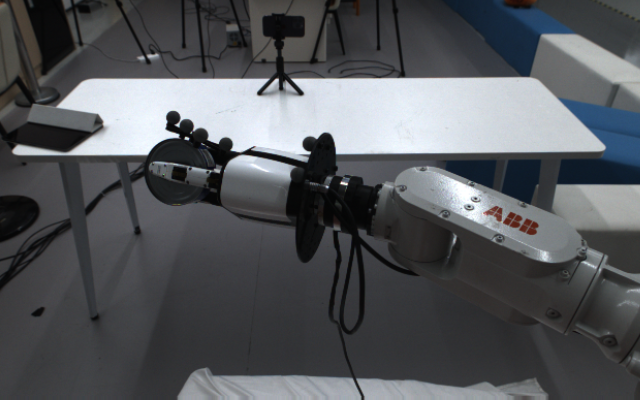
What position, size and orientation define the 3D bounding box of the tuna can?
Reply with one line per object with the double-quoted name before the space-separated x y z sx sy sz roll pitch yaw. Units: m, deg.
"tuna can" -0.178 -0.035 0.624 0.085 0.085 0.034 10 4 11
